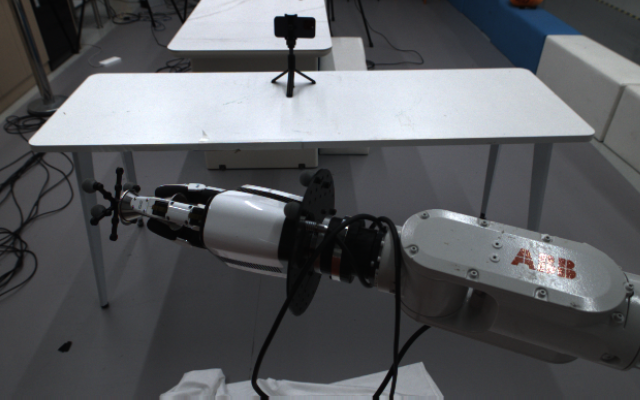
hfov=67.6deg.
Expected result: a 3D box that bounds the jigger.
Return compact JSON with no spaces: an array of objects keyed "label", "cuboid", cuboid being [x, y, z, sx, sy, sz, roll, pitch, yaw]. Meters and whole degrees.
[{"label":"jigger","cuboid":[-0.191,0.006,0.575,0.071,0.043,0.043,4,34,15]}]
